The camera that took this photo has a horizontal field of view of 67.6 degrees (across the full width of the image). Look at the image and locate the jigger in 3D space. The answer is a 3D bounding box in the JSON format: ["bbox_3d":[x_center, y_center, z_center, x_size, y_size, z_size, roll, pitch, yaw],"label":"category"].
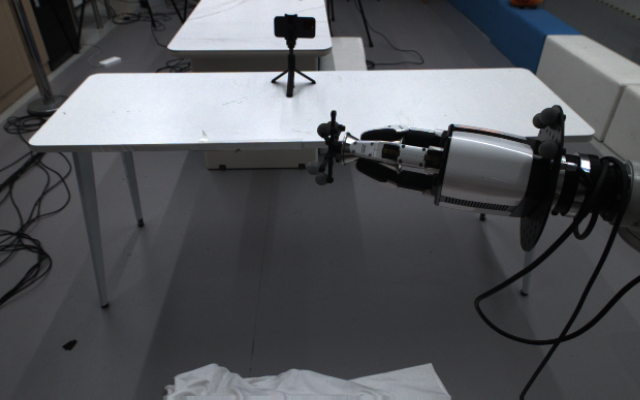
[{"bbox_3d":[0.068,-0.060,0.569,0.071,0.043,0.043,7,35,16],"label":"jigger"}]
